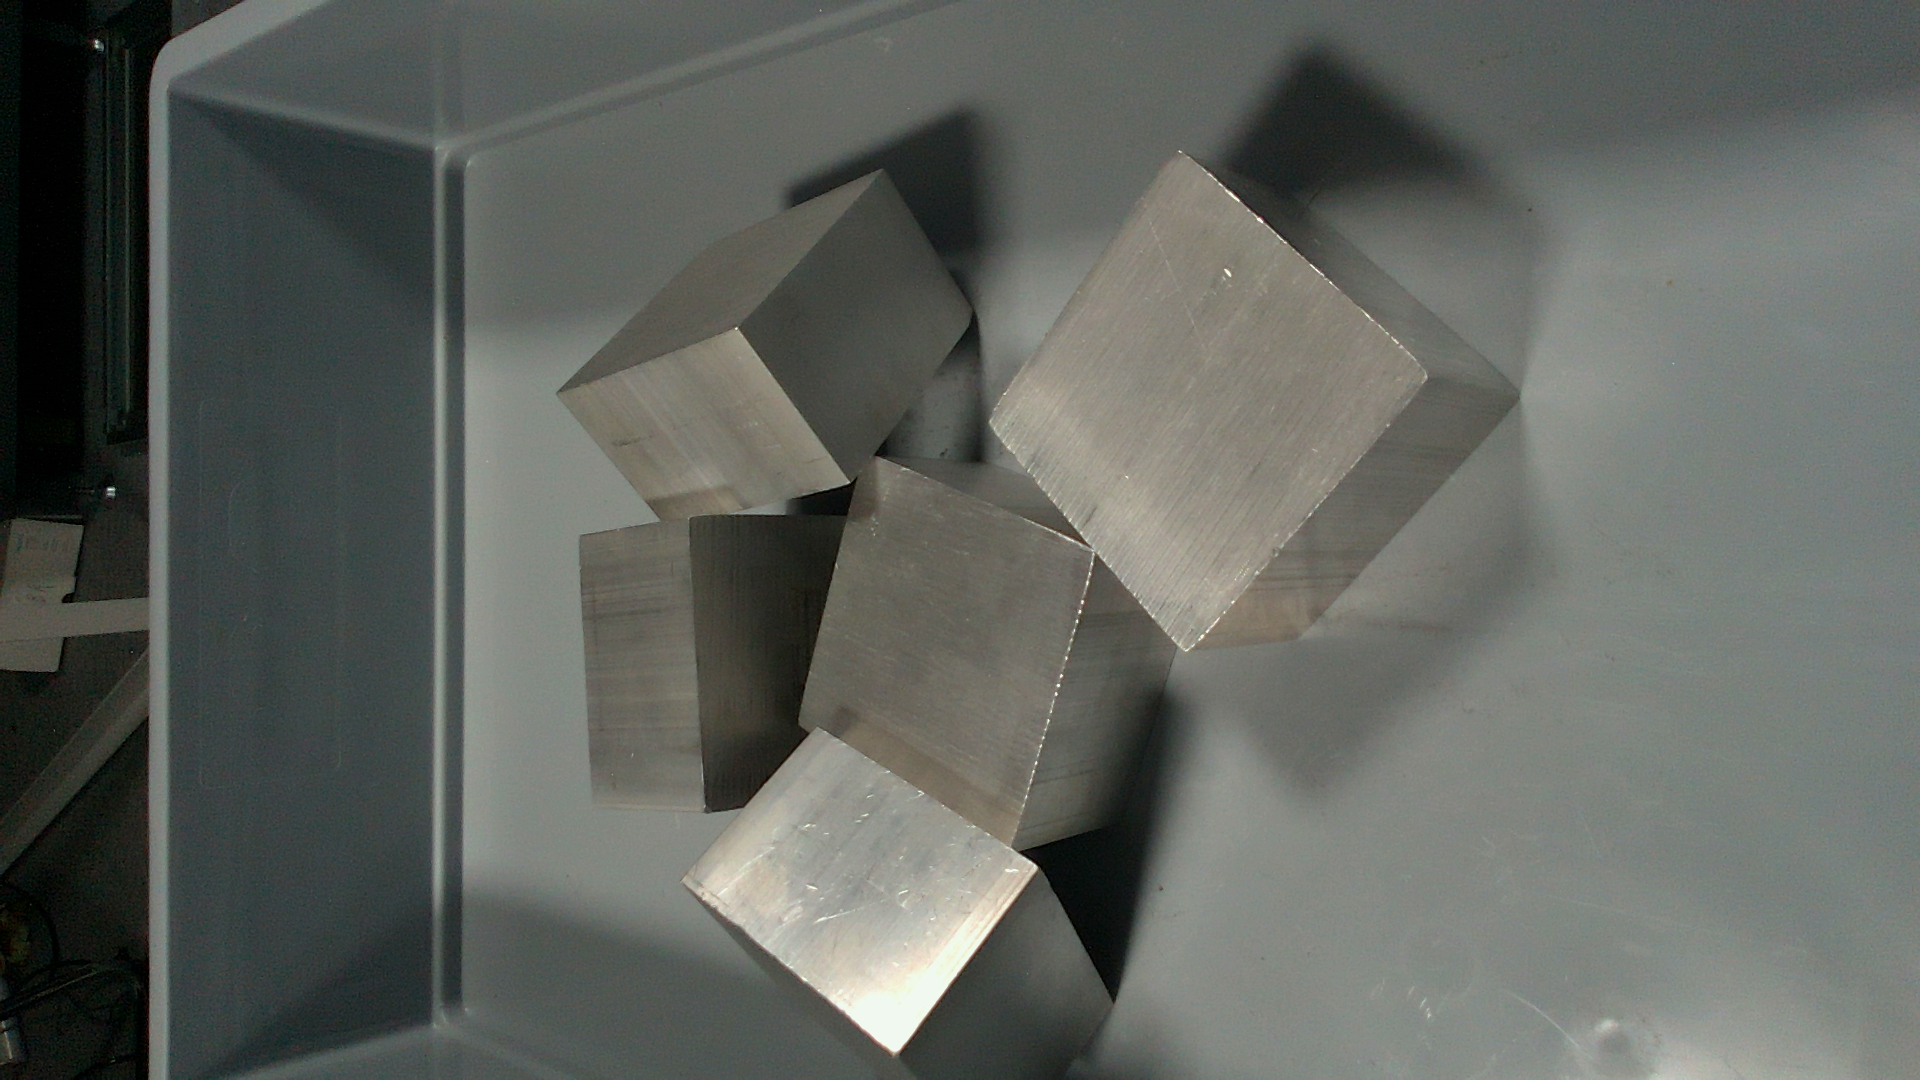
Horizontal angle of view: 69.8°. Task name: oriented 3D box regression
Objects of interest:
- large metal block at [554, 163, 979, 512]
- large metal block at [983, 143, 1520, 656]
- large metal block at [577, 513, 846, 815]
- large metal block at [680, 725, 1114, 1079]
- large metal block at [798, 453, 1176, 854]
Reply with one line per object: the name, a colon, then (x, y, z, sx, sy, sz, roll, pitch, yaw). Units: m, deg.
large metal block: (-0.054, -0.055, 0.395, 0.080, 0.080, 0.050, -10, 125, 40)
large metal block: (0.065, -0.031, 0.322, 0.080, 0.050, 0.080, 51, 120, 28)
large metal block: (-0.063, 0.035, 0.411, 0.050, 0.080, 0.080, -7, 85, 40)
large metal block: (-0.014, 0.105, 0.361, 0.080, 0.080, 0.050, 25, 63, 36)
large metal block: (0.010, 0.027, 0.370, 0.080, 0.050, 0.080, 24, 105, 37)
